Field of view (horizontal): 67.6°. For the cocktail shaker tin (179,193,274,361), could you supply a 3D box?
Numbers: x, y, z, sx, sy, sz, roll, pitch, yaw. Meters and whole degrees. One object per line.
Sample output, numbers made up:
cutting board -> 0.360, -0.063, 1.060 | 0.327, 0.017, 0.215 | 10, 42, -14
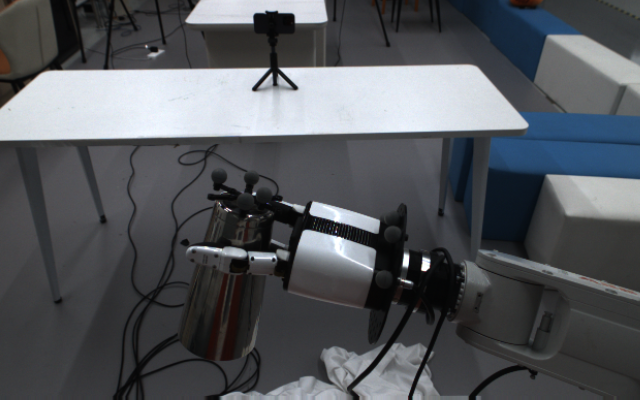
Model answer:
cocktail shaker tin -> -0.100, 0.083, 0.549 | 0.093, 0.170, 0.093 | 13, 18, -4
